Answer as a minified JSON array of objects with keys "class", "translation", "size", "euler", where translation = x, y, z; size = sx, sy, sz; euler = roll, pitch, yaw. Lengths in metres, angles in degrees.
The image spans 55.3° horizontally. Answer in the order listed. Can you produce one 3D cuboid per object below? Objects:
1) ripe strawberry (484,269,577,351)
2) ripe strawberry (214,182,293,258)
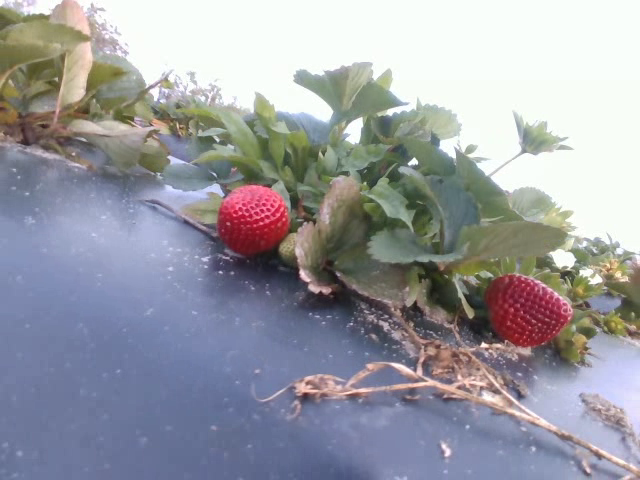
[{"class":"ripe strawberry","translation":[0.116,0.037,0.333],"size":[0.043,0.047,0.046],"euler":[-21,16,-40]},{"class":"ripe strawberry","translation":[-0.040,-0.010,0.321],"size":[0.043,0.043,0.050],"euler":[27,10,21]}]
